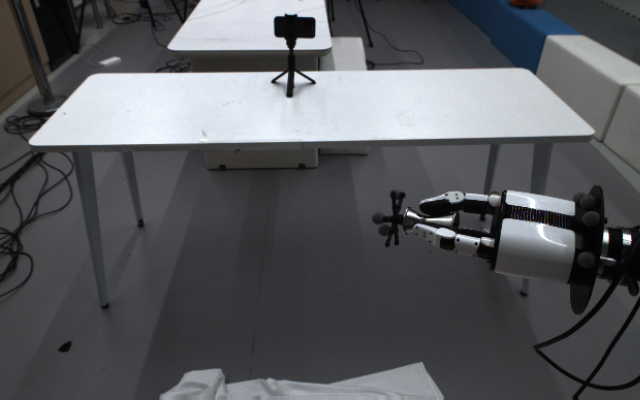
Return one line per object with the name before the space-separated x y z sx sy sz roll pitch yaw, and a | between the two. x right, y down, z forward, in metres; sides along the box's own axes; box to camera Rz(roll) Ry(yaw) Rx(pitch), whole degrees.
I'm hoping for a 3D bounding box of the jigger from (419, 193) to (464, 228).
jigger | 0.159 0.026 0.664 0.071 0.043 0.043 6 33 27
